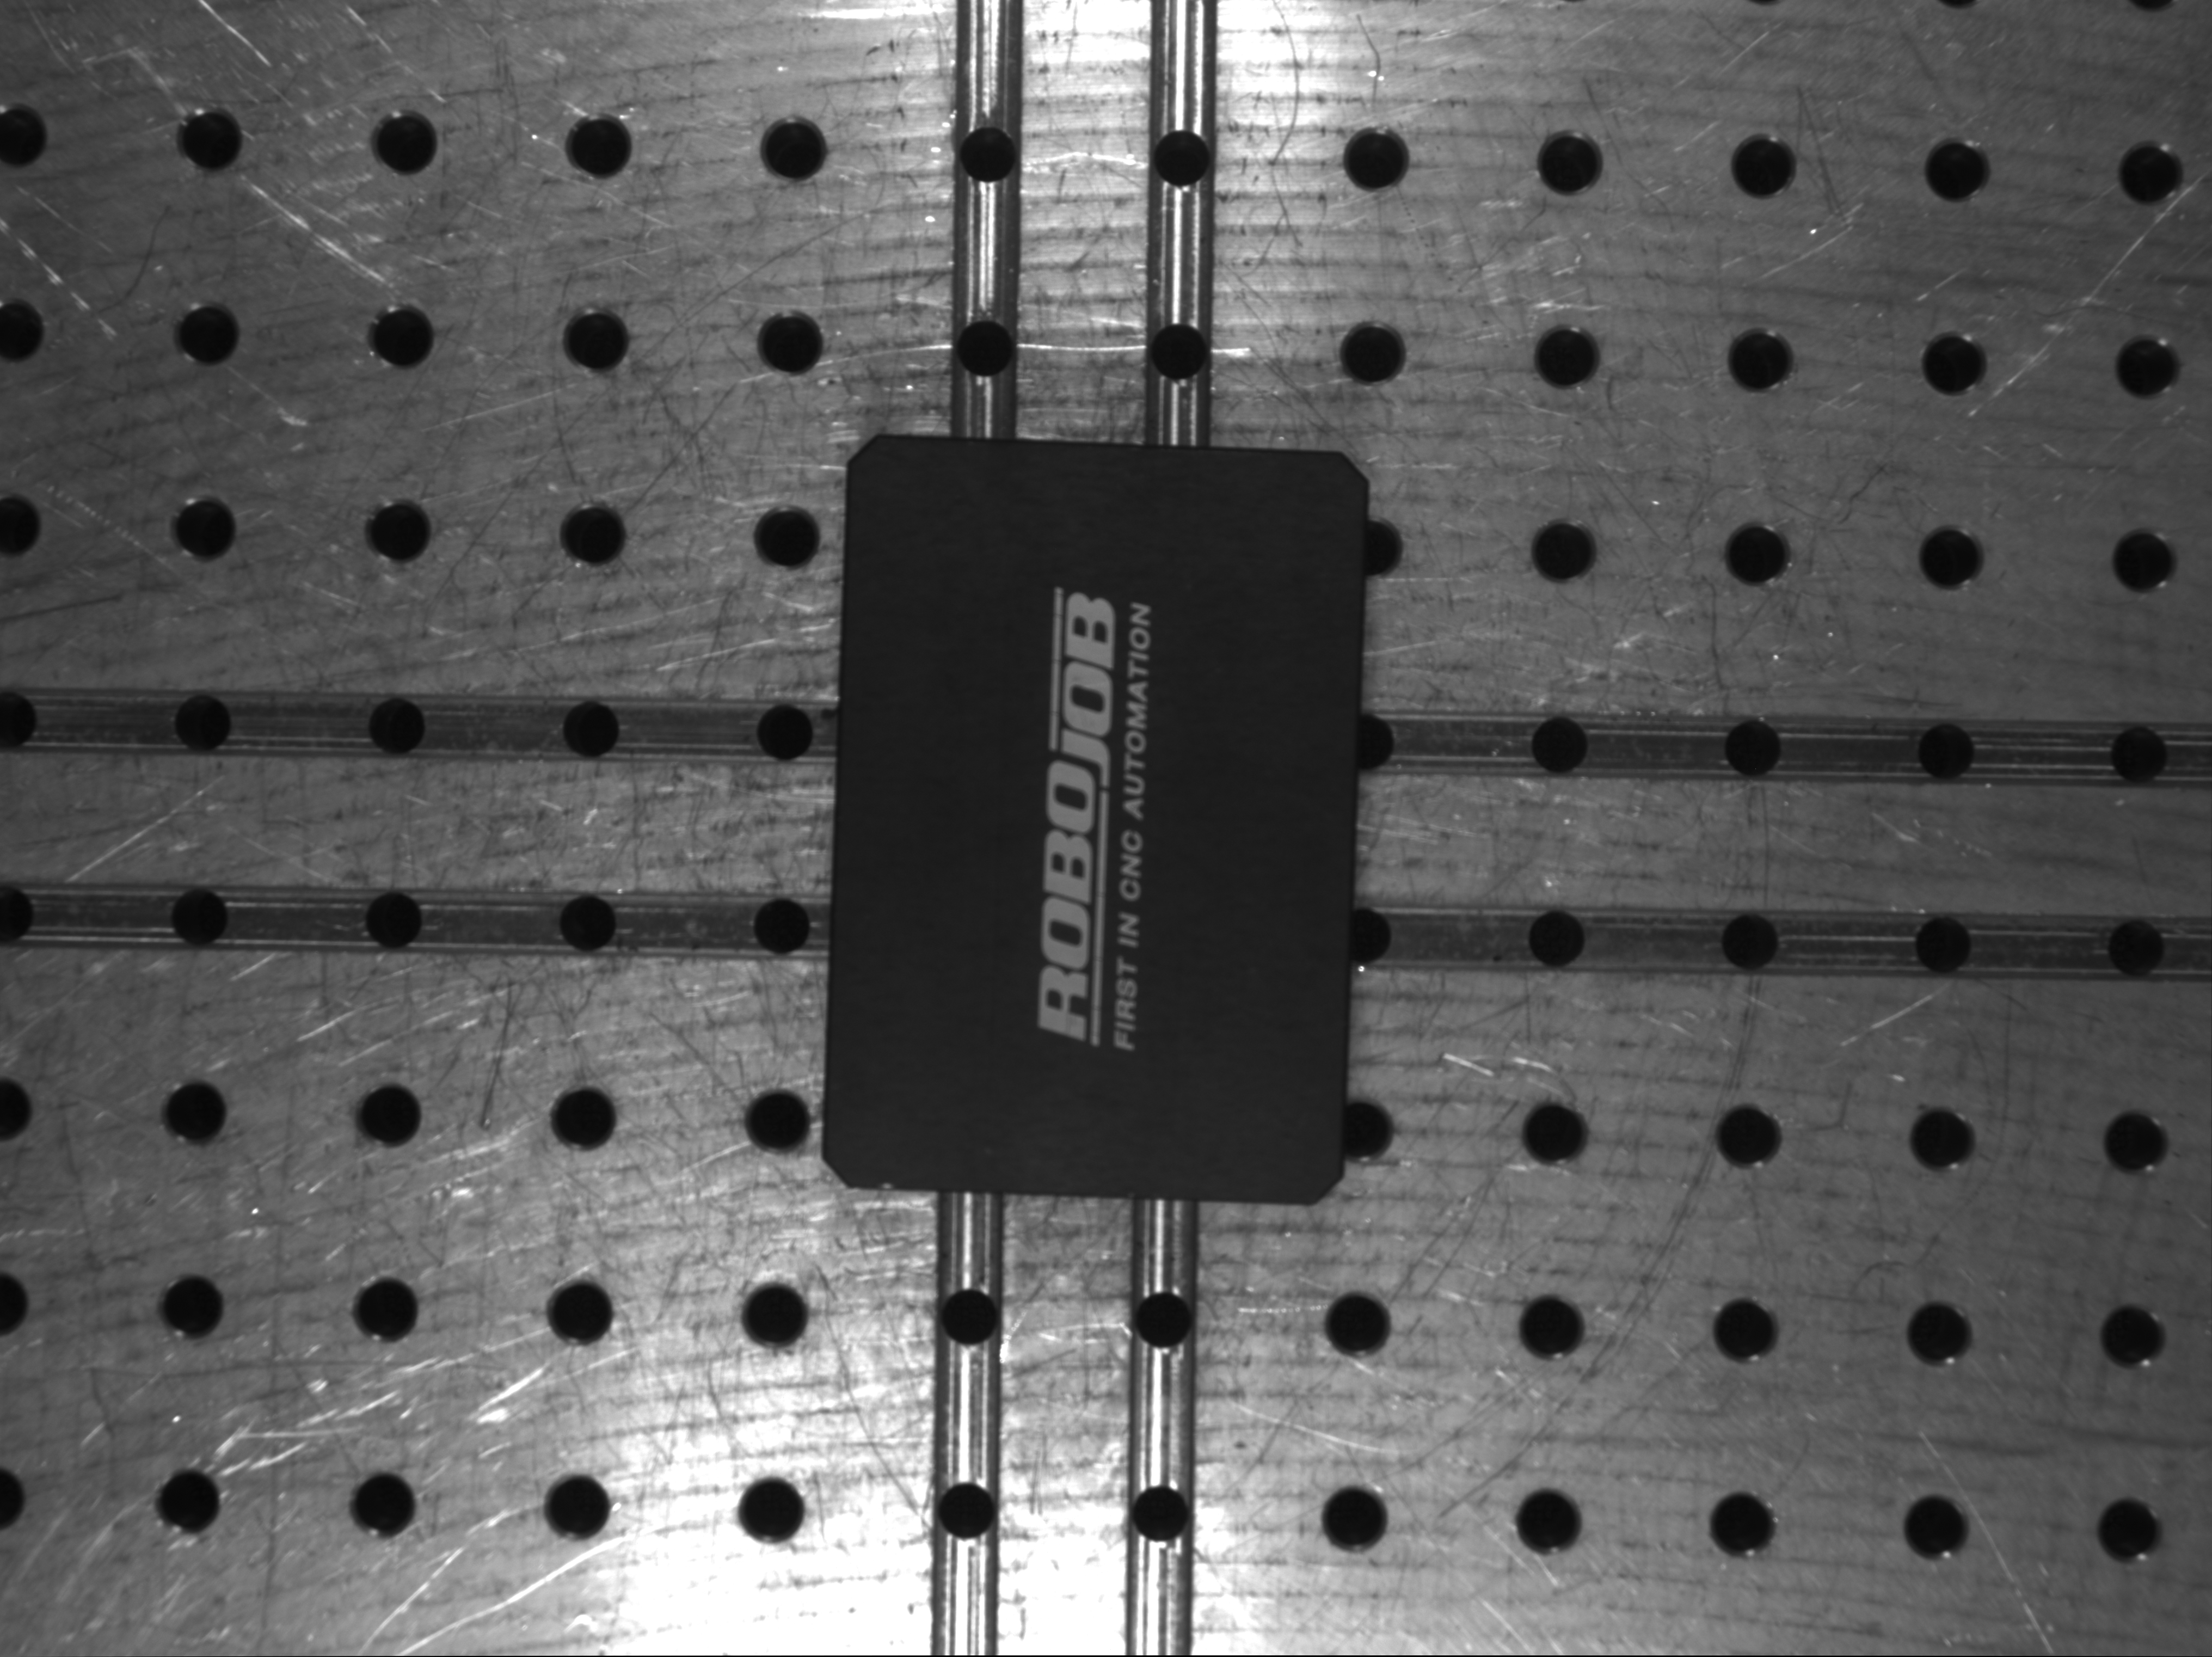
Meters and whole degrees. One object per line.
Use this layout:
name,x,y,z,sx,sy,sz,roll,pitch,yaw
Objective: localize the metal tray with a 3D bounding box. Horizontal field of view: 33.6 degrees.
metal tray,-0.003,-0.001,0.644,0.090,0.030,0.130,2,90,0
